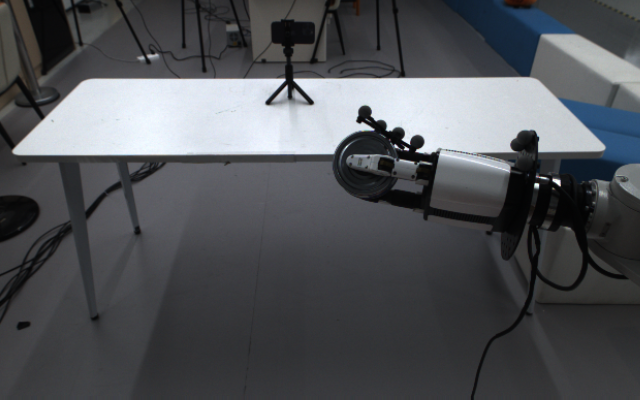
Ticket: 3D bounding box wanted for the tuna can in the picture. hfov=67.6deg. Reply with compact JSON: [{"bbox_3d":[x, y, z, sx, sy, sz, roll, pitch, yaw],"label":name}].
[{"bbox_3d":[0.064,-0.040,0.623,0.085,0.085,0.034,13,-5,15],"label":"tuna can"}]
